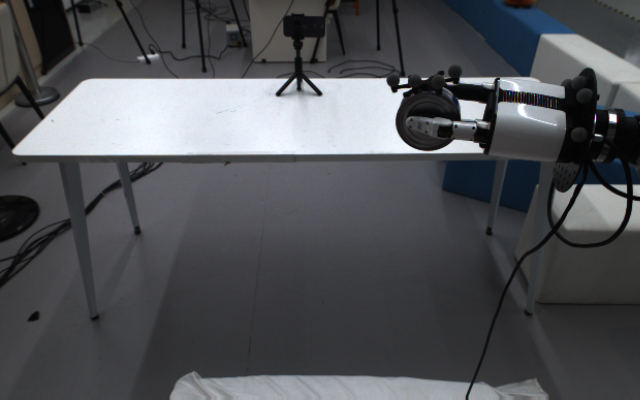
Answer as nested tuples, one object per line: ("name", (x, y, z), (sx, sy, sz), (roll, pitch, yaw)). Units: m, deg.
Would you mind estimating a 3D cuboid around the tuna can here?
("tuna can", (0.149, -0.114, 0.662), (0.085, 0.085, 0.034), (10, 33, 11))
